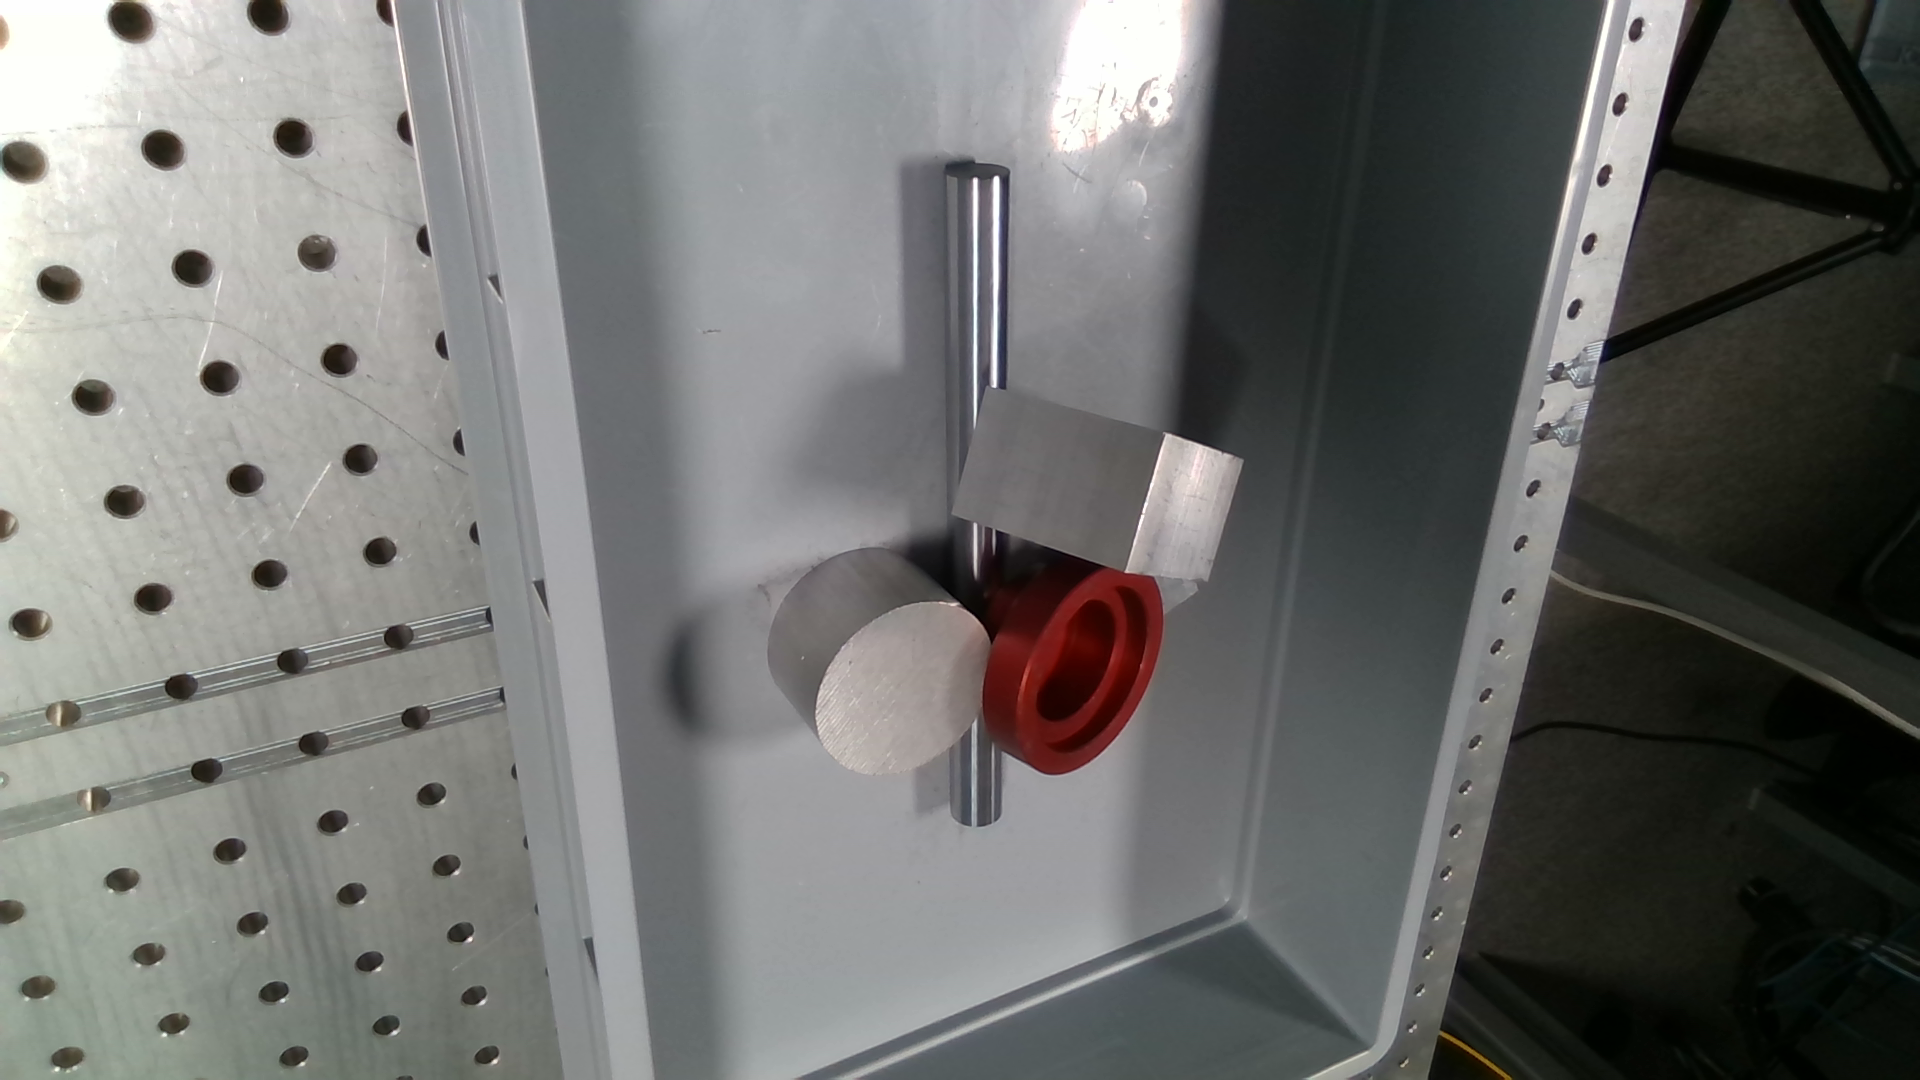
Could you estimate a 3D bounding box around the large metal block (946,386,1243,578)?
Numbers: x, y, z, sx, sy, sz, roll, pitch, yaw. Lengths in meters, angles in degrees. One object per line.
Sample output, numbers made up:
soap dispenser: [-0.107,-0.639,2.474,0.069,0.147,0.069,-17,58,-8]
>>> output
large metal block: [0.055,-0.022,0.547,0.080,0.080,0.050,6,101,-58]

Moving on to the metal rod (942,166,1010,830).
metal rod: [0.006,-0.003,0.580,0.025,0.025,0.301,-15,122,-25]

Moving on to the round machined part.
round machined part: [0.042,0.048,0.596,0.098,0.042,0.098,-26,127,-40]

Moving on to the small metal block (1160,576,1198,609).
small metal block: [0.077,0.012,0.634,0.050,0.025,0.050,-33,127,-13]

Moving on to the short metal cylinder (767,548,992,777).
short metal cylinder: [-0.033,0.050,0.569,0.080,0.050,0.080,-14,122,-25]
